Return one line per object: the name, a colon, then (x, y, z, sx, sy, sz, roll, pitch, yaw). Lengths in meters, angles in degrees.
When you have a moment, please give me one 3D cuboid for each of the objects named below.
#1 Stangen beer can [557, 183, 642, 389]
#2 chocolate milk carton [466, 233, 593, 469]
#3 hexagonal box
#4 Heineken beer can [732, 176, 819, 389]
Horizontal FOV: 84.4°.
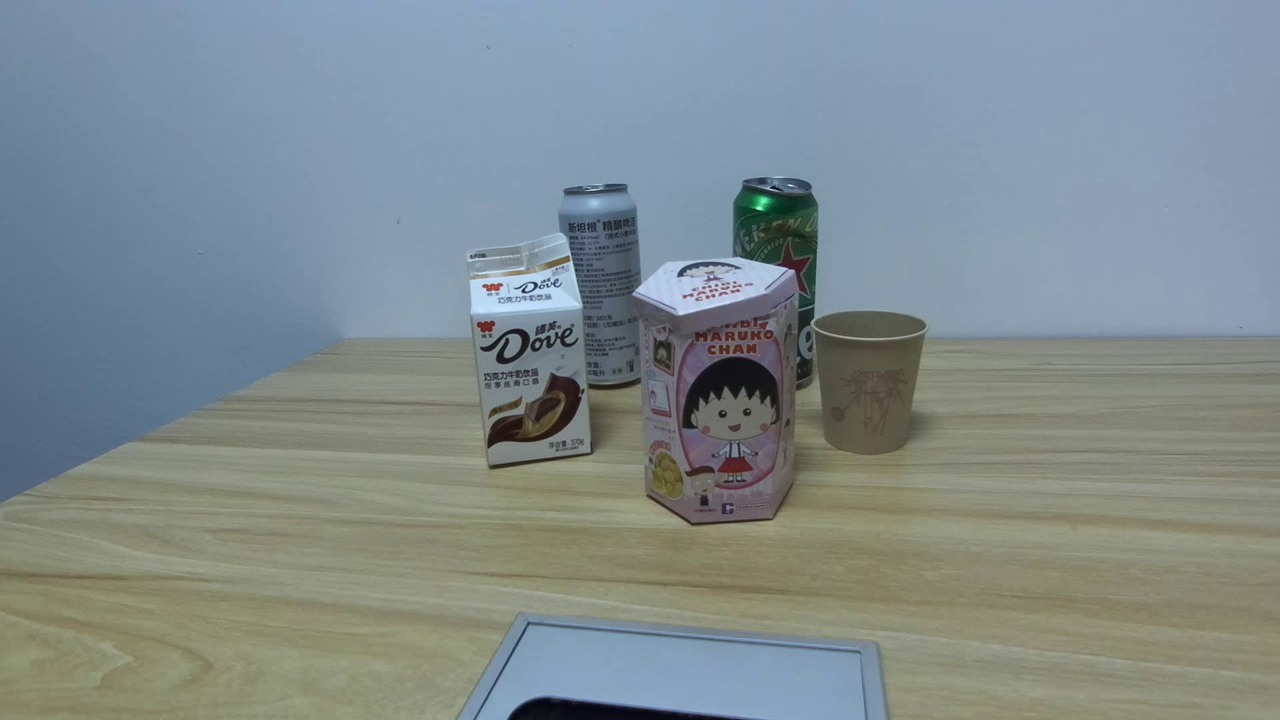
Stangen beer can: (-0.032, -0.059, 0.605, 0.067, 0.171, 0.067, -4, 7, 1)
chocolate milk carton: (-0.077, -0.011, 0.495, 0.075, 0.148, 0.074, -6, 17, -8)
hexagonal box: (0.045, 0.016, 0.409, 0.092, 0.135, 0.085, -4, 19, 1)
Heineken beer can: (0.109, -0.060, 0.574, 0.068, 0.168, 0.069, 3, 22, 11)
